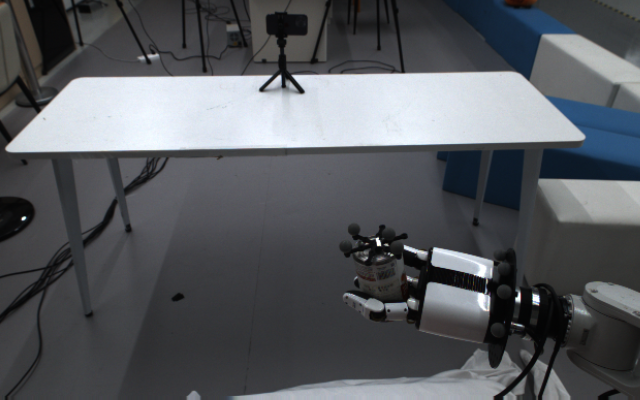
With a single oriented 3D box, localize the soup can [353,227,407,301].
[{"bbox_3d":[0.086,0.107,0.665,0.067,0.101,0.067,-11,27,5],"label":"soup can"}]
